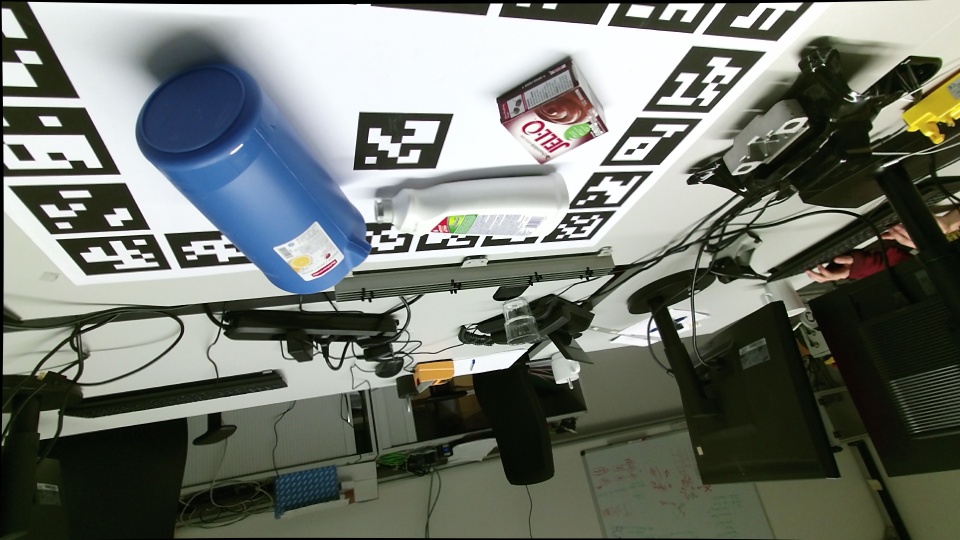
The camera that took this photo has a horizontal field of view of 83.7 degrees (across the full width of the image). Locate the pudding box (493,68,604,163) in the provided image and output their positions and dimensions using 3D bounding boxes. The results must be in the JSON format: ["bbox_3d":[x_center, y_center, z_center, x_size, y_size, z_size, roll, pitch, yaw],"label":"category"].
[{"bbox_3d":[0.080,-0.166,0.604,0.090,0.038,0.114,-19,154,25],"label":"pudding box"}]

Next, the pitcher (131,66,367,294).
[{"bbox_3d":[-0.235,-0.085,0.554,0.189,0.133,0.243,15,157,19],"label":"pitcher"}]

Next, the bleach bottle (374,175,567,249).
[{"bbox_3d":[-0.016,-0.074,0.732,0.252,0.067,0.103,-5,150,-14],"label":"bleach bottle"}]
